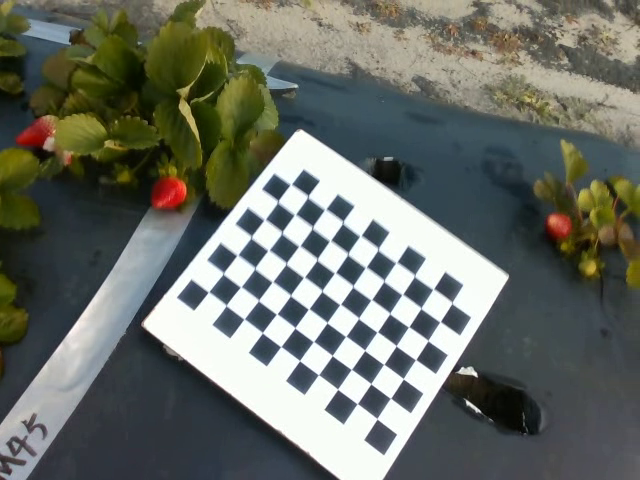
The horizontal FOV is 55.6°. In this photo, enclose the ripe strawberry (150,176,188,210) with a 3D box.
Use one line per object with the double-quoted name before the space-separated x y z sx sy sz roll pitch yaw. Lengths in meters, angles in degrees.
"ripe strawberry" -0.160 -0.044 0.616 0.050 0.055 0.036 31 -38 1
